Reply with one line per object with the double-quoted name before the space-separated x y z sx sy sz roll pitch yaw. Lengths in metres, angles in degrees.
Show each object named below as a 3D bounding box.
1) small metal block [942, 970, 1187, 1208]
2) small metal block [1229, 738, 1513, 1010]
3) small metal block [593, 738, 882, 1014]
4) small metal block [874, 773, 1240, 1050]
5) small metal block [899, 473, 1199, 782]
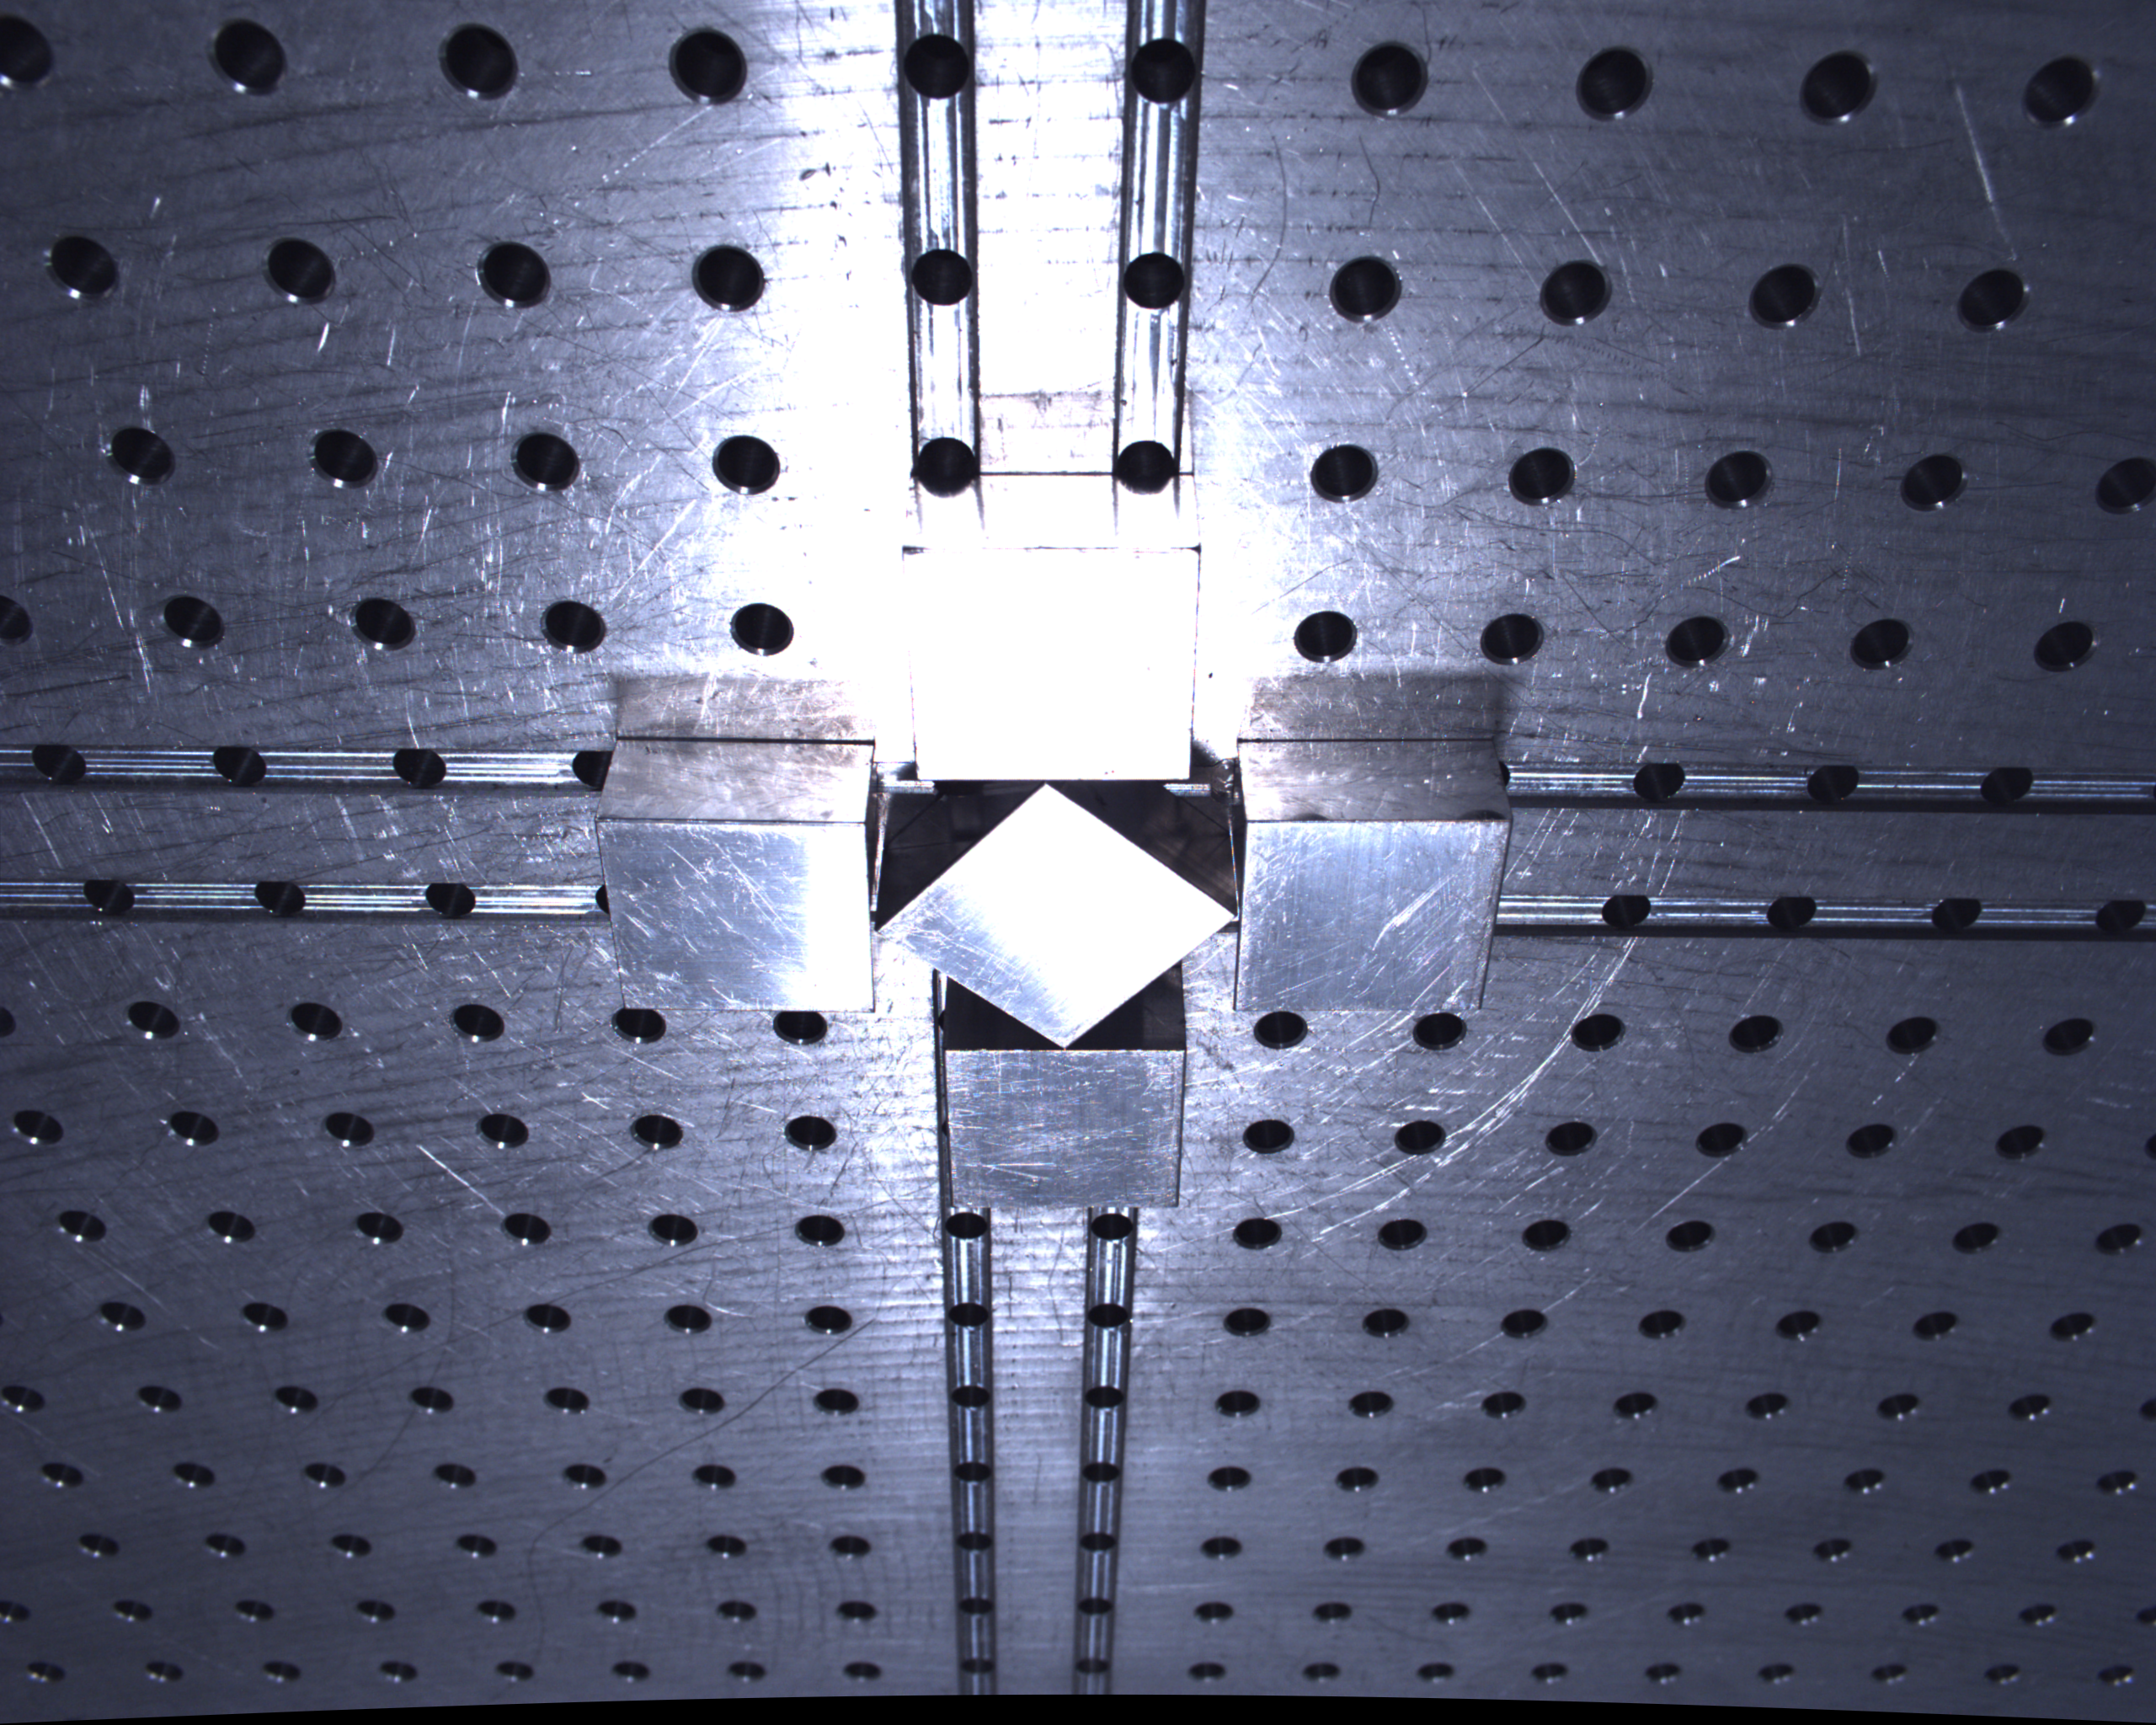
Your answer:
"small metal block" -0.003 0.049 0.453 0.050 0.025 0.050 0 130 -1
"small metal block" 0.056 0.003 0.415 0.050 0.025 0.050 0 130 0
"small metal block" -0.065 0.003 0.413 0.050 0.025 0.050 1 130 -2
"small metal block" -0.004 0.004 0.414 0.050 0.025 0.050 35 122 -26
"small metal block" -0.005 -0.042 0.376 0.050 0.025 0.050 -1 130 0
